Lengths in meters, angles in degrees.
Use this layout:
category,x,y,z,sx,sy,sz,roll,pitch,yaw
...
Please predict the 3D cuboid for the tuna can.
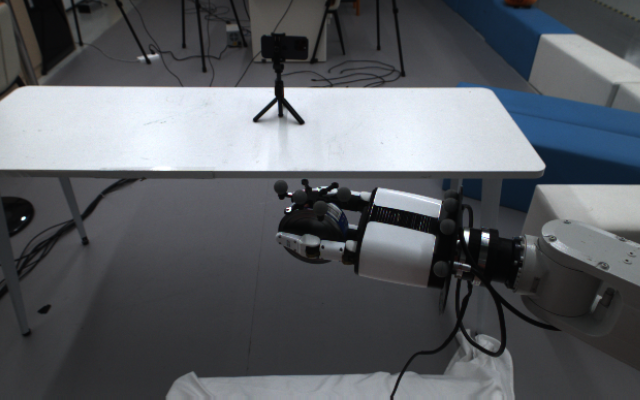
category,x,y,z,sx,sy,sz,roll,pitch,yaw
tuna can,-0.006,0.037,0.617,0.085,0.085,0.034,10,34,12
